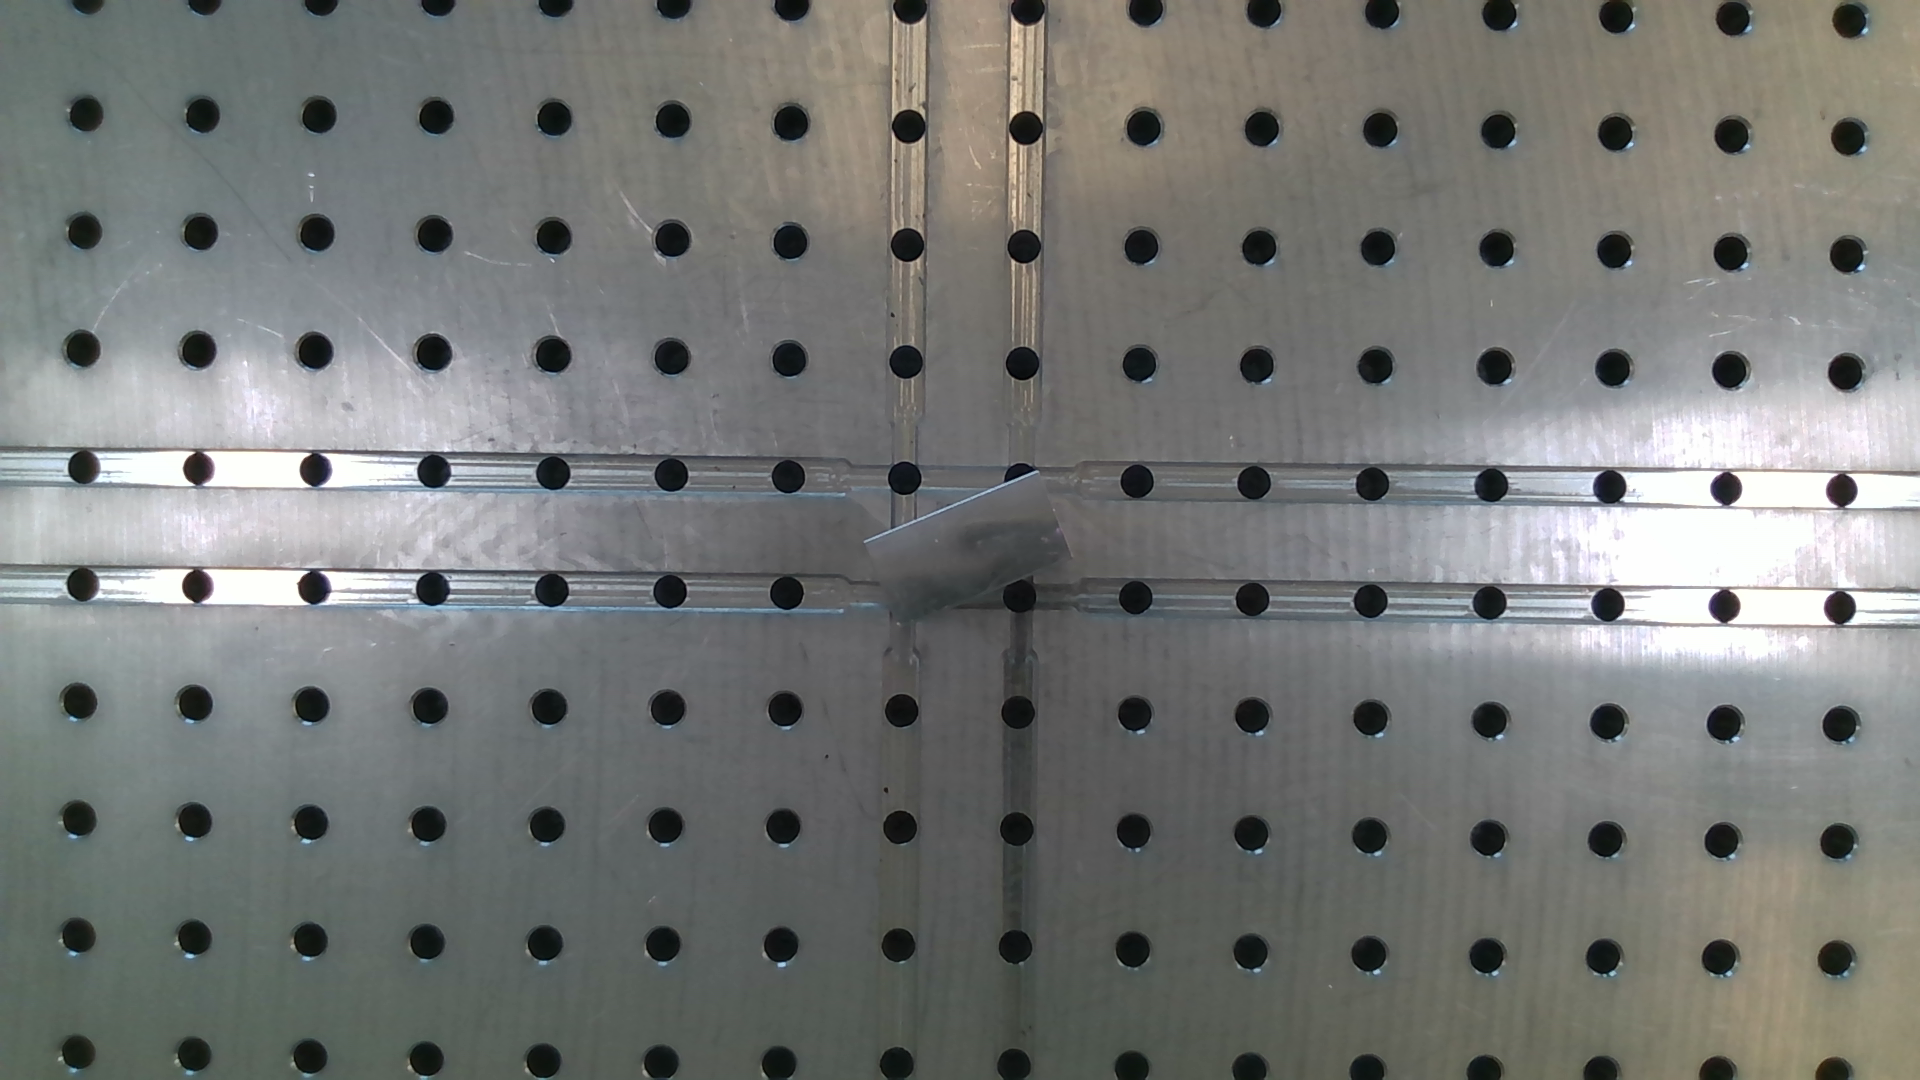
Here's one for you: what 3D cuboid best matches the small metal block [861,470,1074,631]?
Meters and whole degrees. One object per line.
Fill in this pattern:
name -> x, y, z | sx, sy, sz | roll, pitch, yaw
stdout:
small metal block -> 0.002, 0.003, 0.385 | 0.050, 0.050, 0.025 | -23, 90, 0
